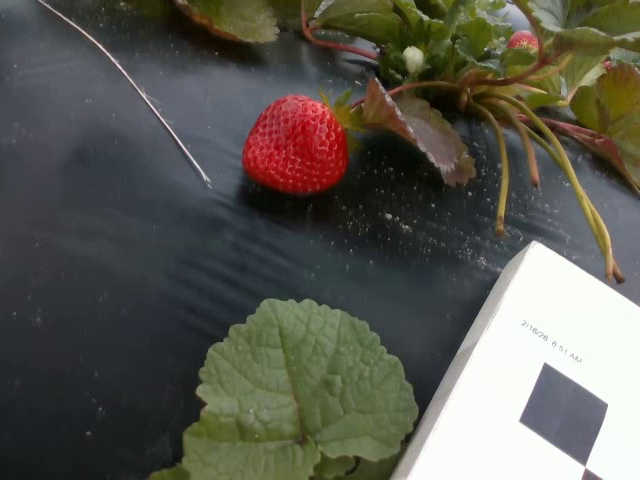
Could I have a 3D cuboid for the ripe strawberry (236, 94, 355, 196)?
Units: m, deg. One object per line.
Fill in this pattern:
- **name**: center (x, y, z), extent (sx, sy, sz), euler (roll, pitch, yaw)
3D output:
- **ripe strawberry**: center (-0.008, -0.024, 0.149), extent (0.032, 0.028, 0.023), euler (-34, -22, -29)
